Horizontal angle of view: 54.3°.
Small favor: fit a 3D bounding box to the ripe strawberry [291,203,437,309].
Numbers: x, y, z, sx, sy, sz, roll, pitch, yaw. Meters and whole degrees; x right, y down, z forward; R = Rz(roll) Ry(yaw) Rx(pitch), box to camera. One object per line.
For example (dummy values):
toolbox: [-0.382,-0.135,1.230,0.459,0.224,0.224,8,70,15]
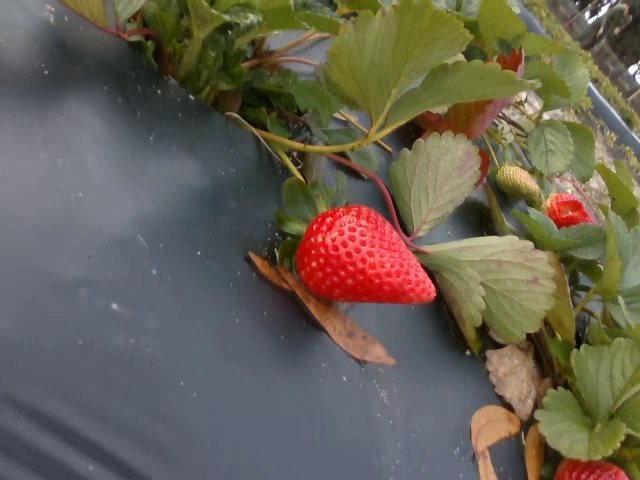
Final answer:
ripe strawberry: [0.022,0.011,0.245,0.065,0.047,0.043,25,-29,36]
